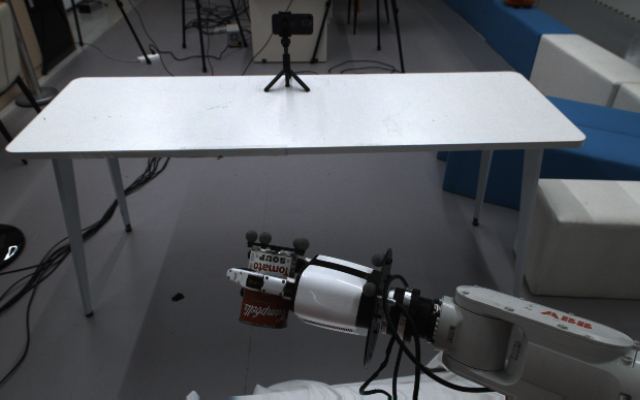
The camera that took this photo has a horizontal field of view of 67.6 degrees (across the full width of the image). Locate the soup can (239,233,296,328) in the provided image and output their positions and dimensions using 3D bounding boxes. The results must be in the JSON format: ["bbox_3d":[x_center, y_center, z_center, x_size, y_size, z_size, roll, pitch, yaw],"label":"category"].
[{"bbox_3d":[-0.070,0.121,0.671,0.067,0.101,0.067,9,-6,1],"label":"soup can"}]
